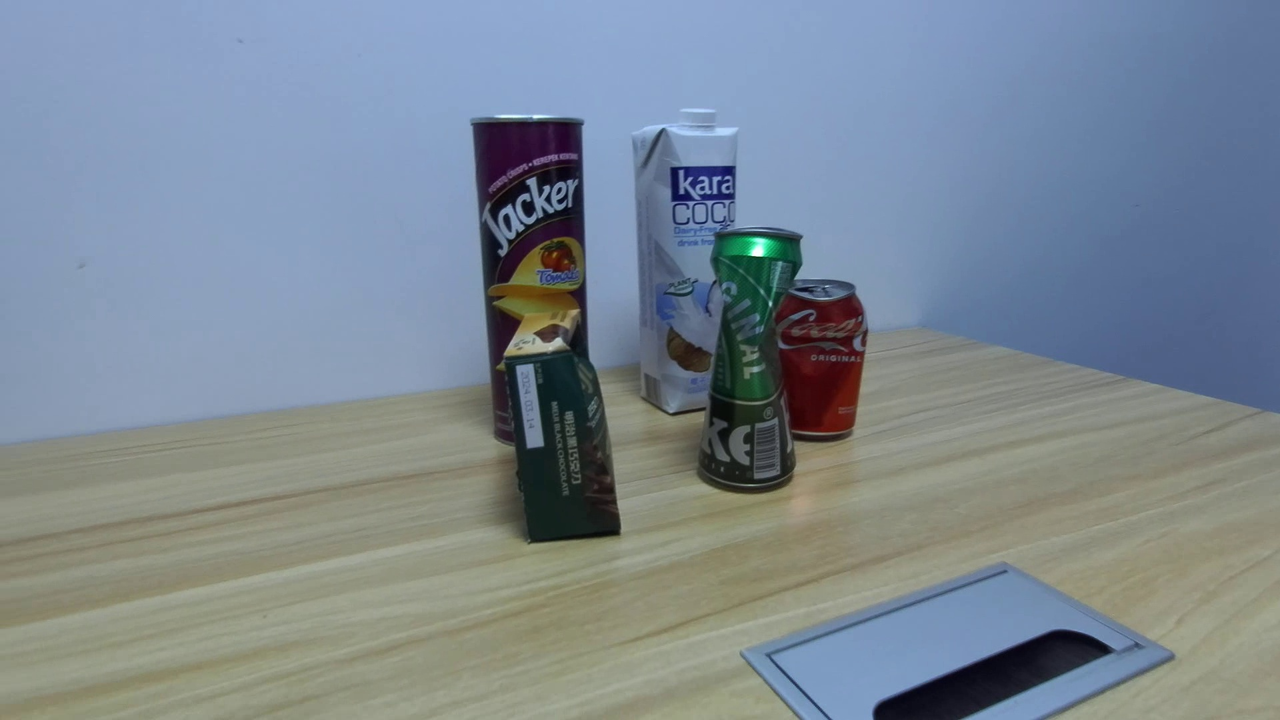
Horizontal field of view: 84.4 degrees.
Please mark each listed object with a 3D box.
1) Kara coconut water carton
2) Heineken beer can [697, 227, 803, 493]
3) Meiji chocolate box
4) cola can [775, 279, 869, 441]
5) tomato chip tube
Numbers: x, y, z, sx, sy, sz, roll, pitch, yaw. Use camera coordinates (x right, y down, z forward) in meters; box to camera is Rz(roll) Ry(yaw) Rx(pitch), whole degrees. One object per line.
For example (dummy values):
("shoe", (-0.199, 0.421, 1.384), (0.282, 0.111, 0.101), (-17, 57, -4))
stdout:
("Kara coconut water carton", (0.040, -0.082, 0.596), (0.077, 0.245, 0.075), (-7, 14, -22))
("Heineken beer can", (0.071, 0.000, 0.455), (0.078, 0.164, 0.065), (-7, 14, -36))
("Meiji chocolate box", (-0.046, 0.036, 0.429), (0.058, 0.110, 0.113), (-7, 13, -6))
("cola can", (0.137, -0.002, 0.544), (0.072, 0.117, 0.065), (4, 15, 17))
("tomato chip tube", (-0.076, -0.056, 0.532), (0.080, 0.234, 0.076), (-3, 12, -7))
